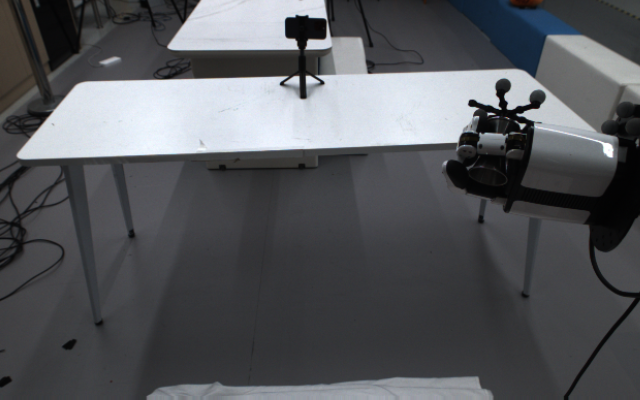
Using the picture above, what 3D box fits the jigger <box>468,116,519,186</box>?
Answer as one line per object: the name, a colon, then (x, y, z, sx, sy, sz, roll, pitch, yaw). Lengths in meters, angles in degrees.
jigger: (0.200, -0.059, 0.553, 0.043, 0.043, 0.071, 16, 70, 19)
